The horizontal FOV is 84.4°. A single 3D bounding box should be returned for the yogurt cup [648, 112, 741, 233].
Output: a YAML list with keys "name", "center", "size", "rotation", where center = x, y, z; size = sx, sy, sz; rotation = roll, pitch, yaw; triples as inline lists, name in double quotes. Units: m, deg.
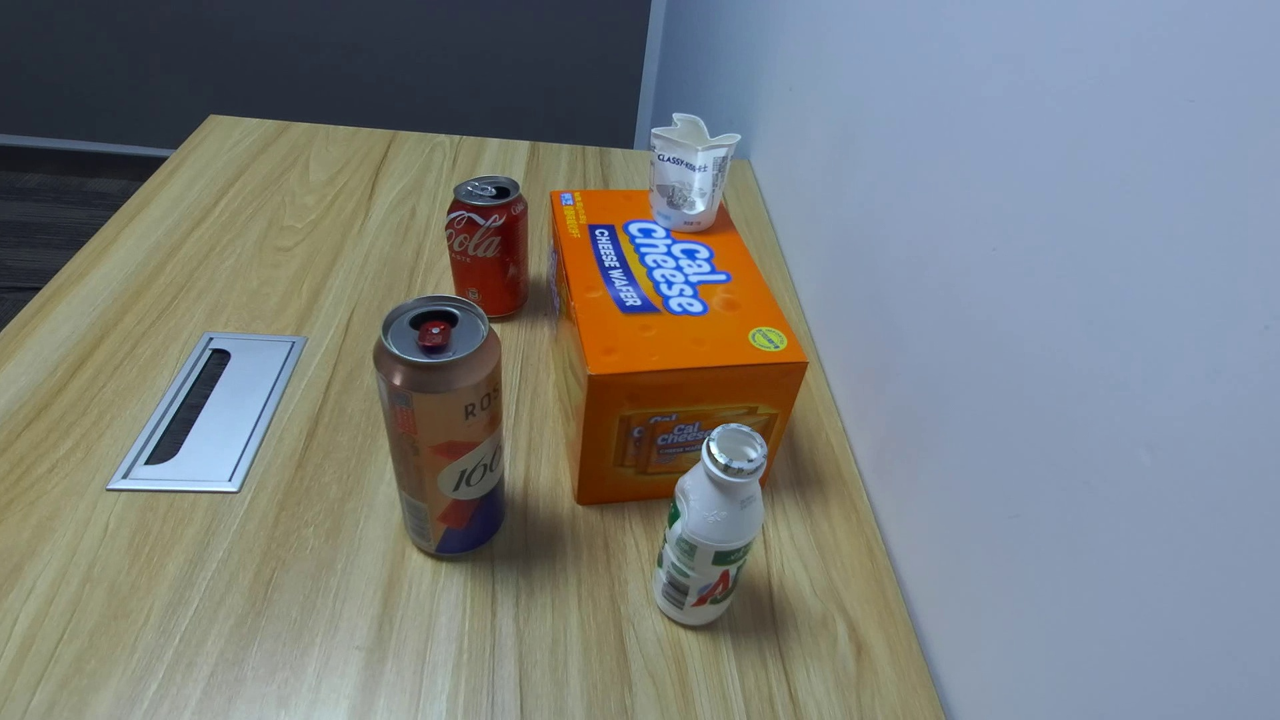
- name: "yogurt cup"
  center: [0.038, -0.141, 0.535]
  size: [0.054, 0.072, 0.055]
  rotation: [30, 46, 22]

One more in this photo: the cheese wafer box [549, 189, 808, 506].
- name: "cheese wafer box"
  center: [0.012, -0.019, 0.545]
  size: [0.148, 0.129, 0.221]
  rotation: [-4, 43, -12]

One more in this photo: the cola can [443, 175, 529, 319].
- name: "cola can"
  center: [-0.130, -0.097, 0.617]
  size: [0.065, 0.117, 0.072]
  rotation: [34, 47, 25]

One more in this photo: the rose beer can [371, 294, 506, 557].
- name: "rose beer can"
  center: [-0.116, 0.046, 0.422]
  size: [0.069, 0.169, 0.068]
  rotation: [3, 41, -2]

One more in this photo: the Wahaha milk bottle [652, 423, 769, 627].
- name: "Wahaha milk bottle"
  center: [0.039, 0.101, 0.407]
  size: [0.053, 0.137, 0.053]
  rotation: [4, 43, -4]
